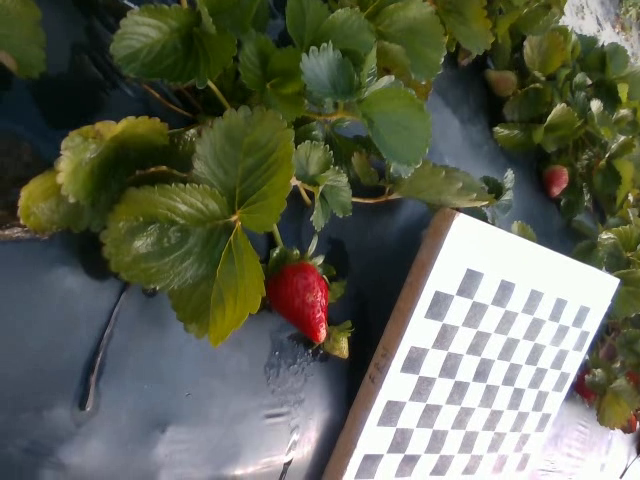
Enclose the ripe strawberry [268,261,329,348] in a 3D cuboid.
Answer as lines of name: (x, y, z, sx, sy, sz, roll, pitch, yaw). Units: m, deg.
ripe strawberry: (-0.008, 0.047, 0.394, 0.043, 0.057, 0.052, -11, -36, -26)
